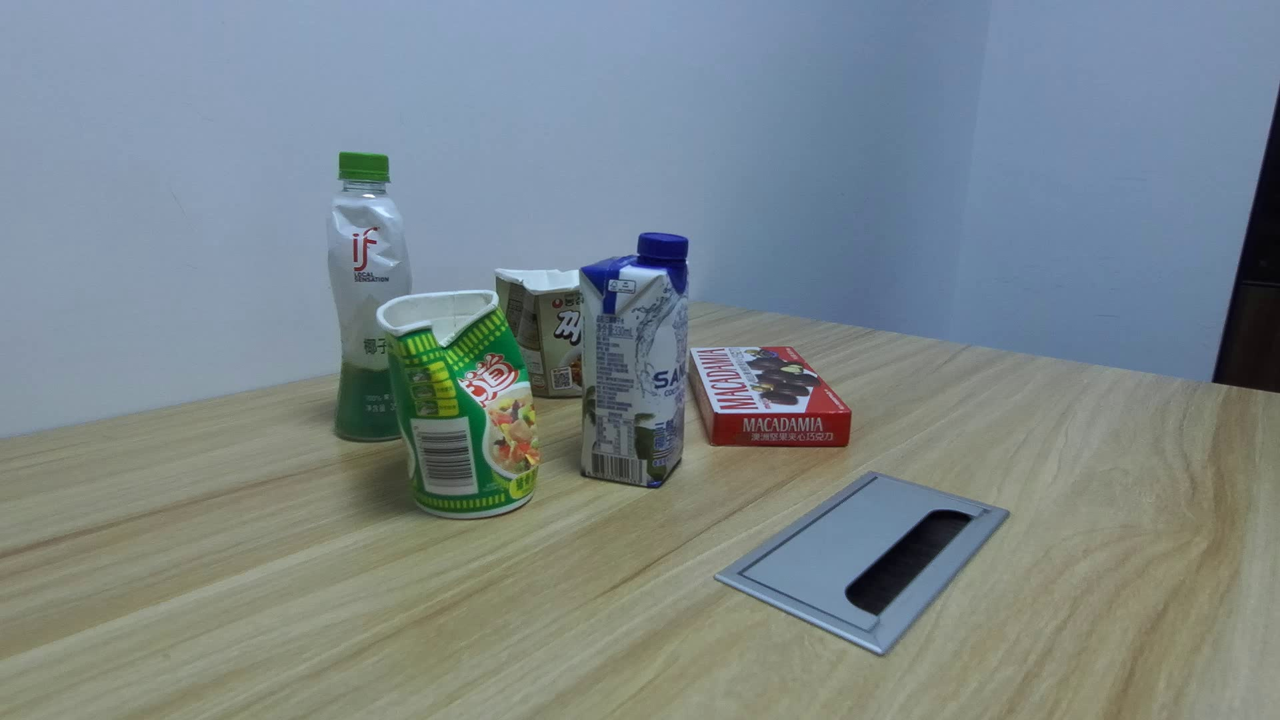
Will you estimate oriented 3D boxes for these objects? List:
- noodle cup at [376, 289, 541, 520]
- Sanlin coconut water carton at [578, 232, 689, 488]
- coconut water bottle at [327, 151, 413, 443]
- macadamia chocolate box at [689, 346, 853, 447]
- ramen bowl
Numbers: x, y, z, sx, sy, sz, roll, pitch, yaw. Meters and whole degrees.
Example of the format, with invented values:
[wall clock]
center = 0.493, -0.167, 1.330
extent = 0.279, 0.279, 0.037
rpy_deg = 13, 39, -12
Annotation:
[noodle cup]
center = -0.096, 0.022, 0.392
extent = 0.083, 0.122, 0.075
rpy_deg = -23, 19, -36
[Sanlin coconut water carton]
center = -0.002, -0.001, 0.419
extent = 0.060, 0.144, 0.061
rpy_deg = 5, 16, 18
[coconut water bottle]
center = -0.182, -0.044, 0.481
extent = 0.067, 0.187, 0.067
rpy_deg = 2, 15, 0
[macadamia chocolate box]
center = 0.092, 0.024, 0.557
extent = 0.095, 0.027, 0.177
rpy_deg = 0, 15, -1
[ramen bowl]
center = -0.078, -0.033, 0.648
extent = 0.113, 0.097, 0.134
rpy_deg = 1, 13, 5
